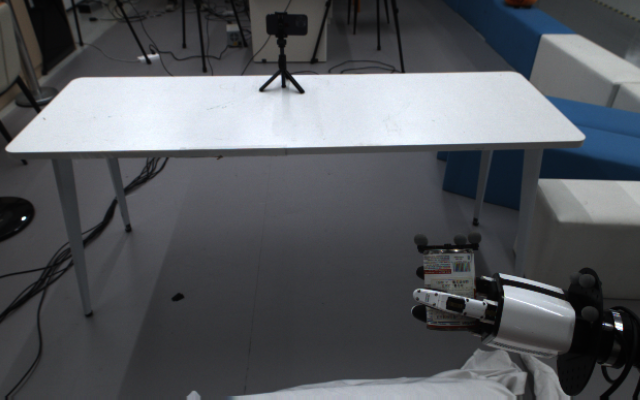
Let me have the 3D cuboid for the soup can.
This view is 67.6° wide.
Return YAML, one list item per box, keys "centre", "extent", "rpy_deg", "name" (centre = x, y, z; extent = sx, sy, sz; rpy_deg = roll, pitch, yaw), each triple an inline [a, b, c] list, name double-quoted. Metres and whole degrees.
- centre: [0.174, 0.118, 0.640]
  extent: [0.067, 0.101, 0.067]
  rpy_deg: [-1, -9, 0]
  name: "soup can"
